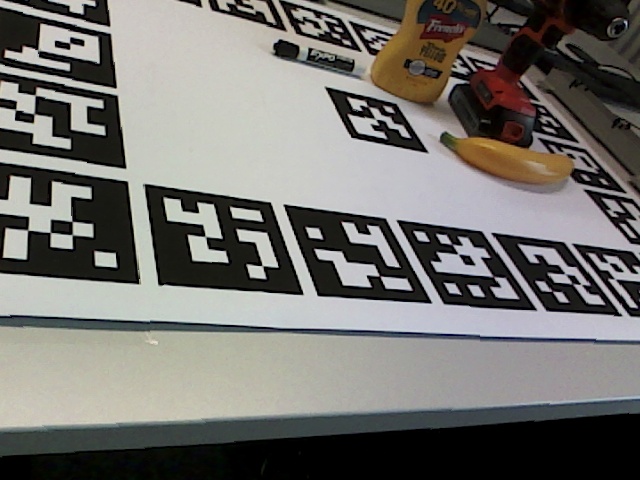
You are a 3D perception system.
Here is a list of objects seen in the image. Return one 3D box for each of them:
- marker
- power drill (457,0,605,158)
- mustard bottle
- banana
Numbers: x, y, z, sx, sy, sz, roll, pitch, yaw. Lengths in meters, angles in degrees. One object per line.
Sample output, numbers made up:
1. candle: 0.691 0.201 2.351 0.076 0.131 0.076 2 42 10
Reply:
1. marker: -0.015 -0.203 0.760 0.120 0.019 0.020 8 43 -25
2. power drill: 0.248 -0.197 0.750 0.057 0.187 0.185 17 37 -18
3. mustard bottle: 0.133 -0.242 0.757 0.096 0.191 0.058 15 40 -19
4. banana: 0.224 -0.069 0.746 0.196 0.039 0.074 11 43 -19
